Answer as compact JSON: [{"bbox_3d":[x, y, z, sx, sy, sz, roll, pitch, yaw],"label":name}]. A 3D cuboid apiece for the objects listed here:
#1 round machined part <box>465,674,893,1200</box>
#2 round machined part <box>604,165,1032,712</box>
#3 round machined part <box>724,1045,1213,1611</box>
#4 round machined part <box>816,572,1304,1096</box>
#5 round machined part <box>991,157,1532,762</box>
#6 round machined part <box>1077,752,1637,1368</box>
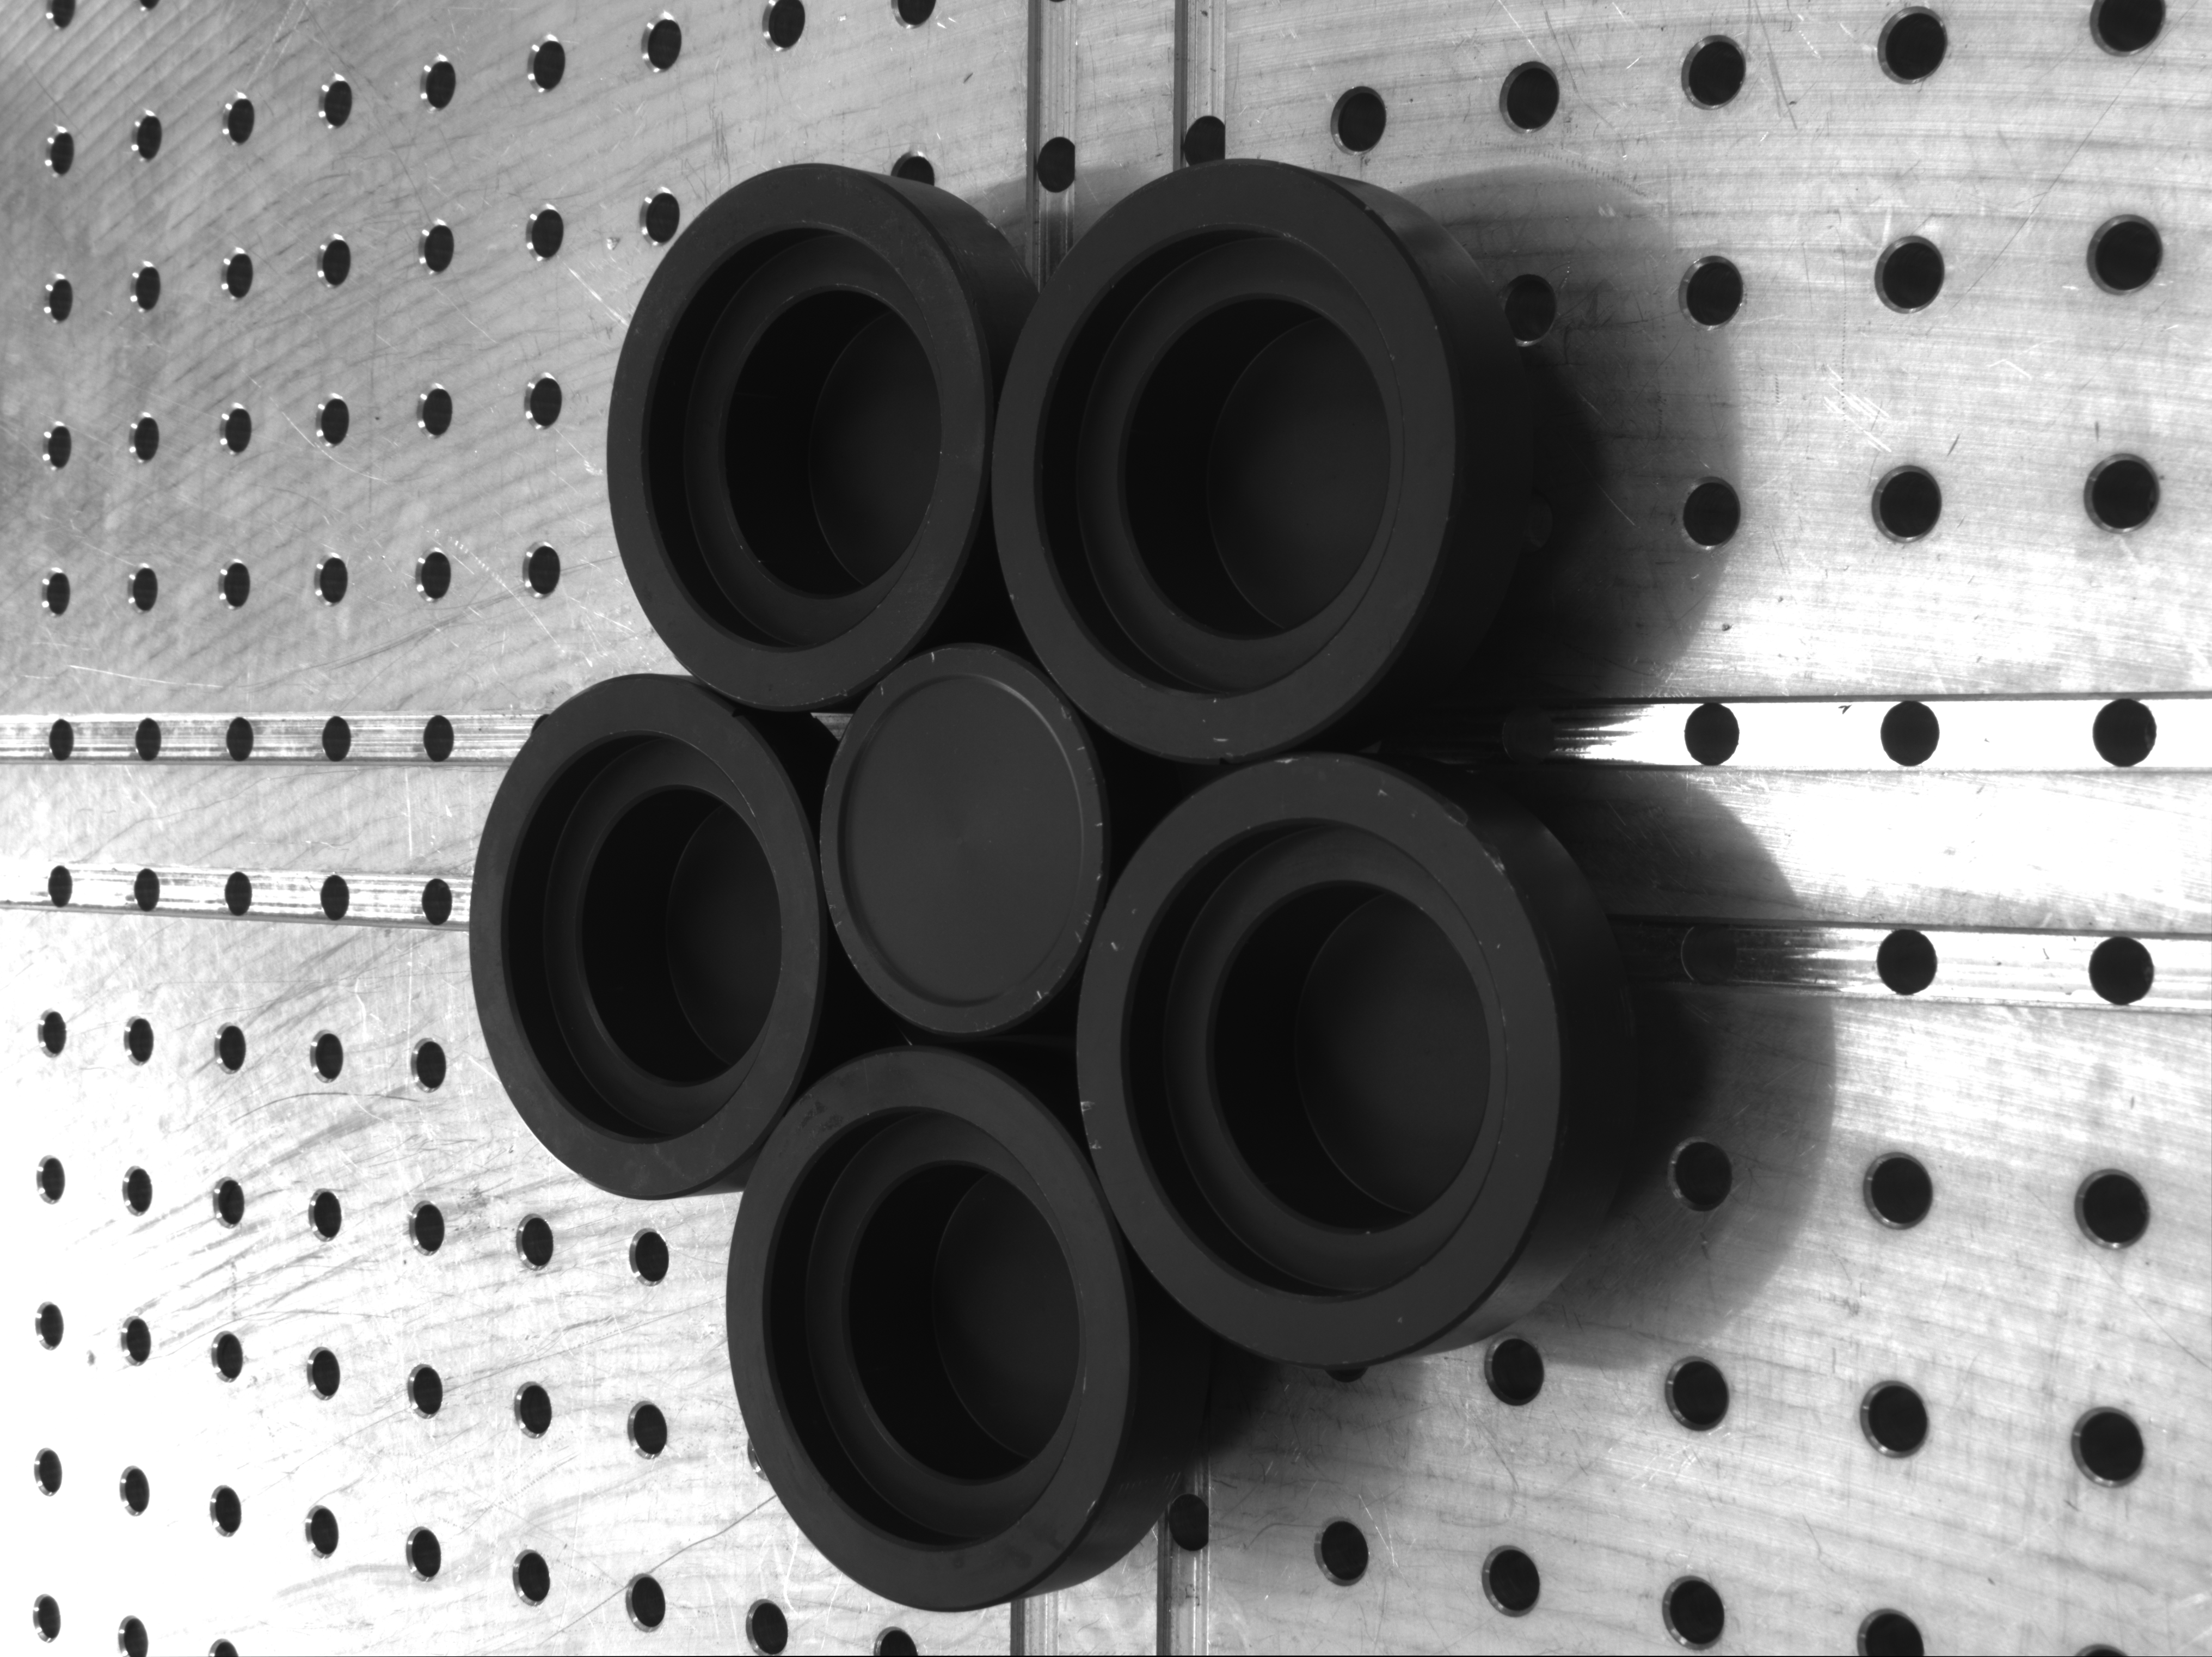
[{"bbox_3d":[-0.075,0.020,0.700,0.098,0.042,0.098,0,90,40],"label":"round machined part"},{"bbox_3d":[-0.044,-0.070,0.675,0.098,0.042,0.098,0,90,40],"label":"round machined part"},{"bbox_3d":[-0.019,0.087,0.653,0.098,0.042,0.098,0,90,40],"label":"round machined part"},{"bbox_3d":[-0.013,0.002,0.648,0.098,0.042,0.098,0,90,40],"label":"round machined part"},{"bbox_3d":[0.031,-0.060,0.612,0.098,0.042,0.098,0,90,40],"label":"round machined part"},{"bbox_3d":[0.045,0.037,0.599,0.098,0.042,0.098,0,90,40],"label":"round machined part"}]
